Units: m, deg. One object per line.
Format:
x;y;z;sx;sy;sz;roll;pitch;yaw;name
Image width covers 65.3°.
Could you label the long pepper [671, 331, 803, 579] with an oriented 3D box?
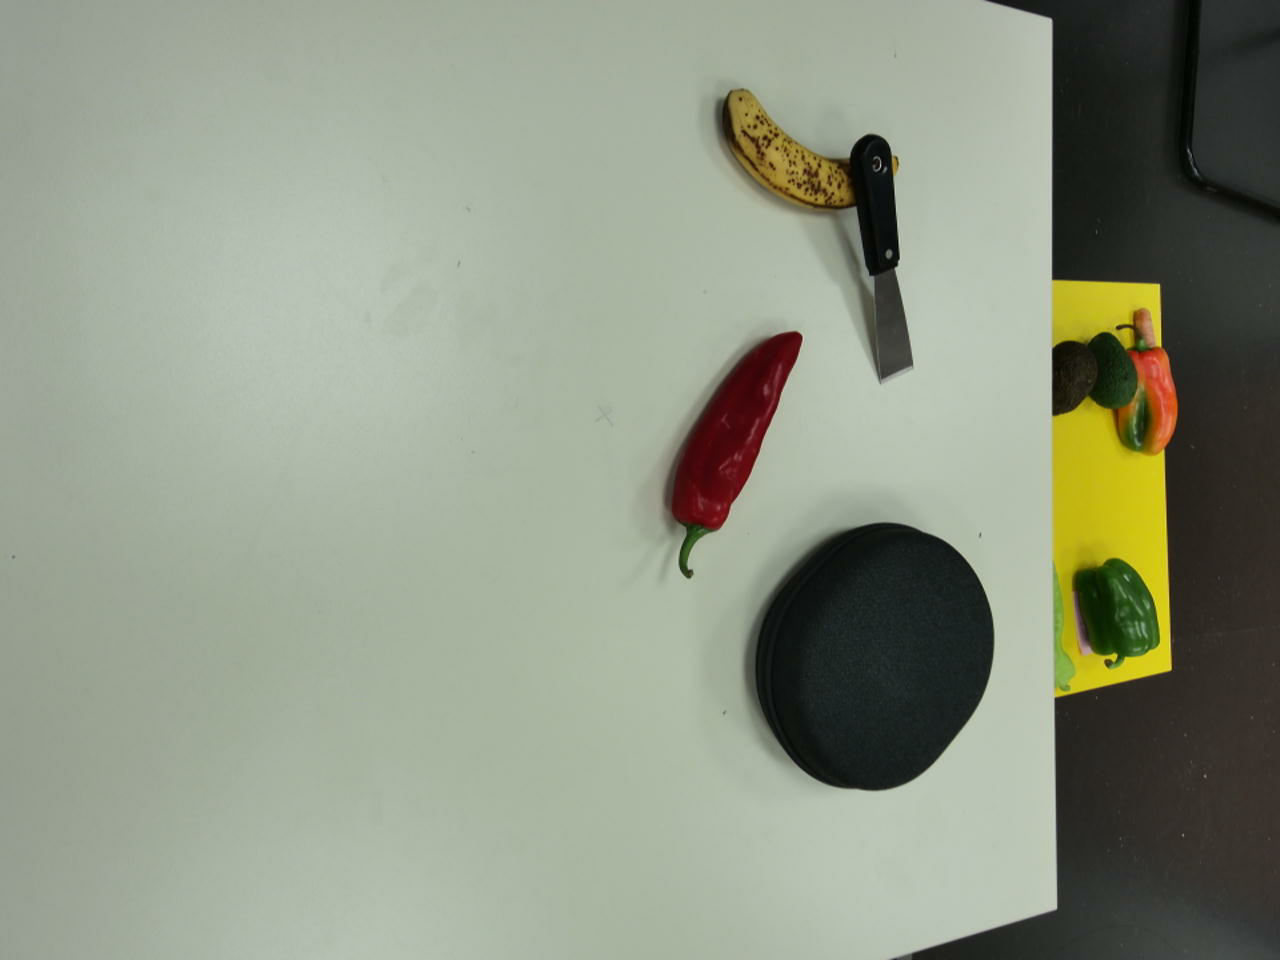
0.065;-0.027;0.724;0.050;0.043;0.211;34;75;-24;long pepper
